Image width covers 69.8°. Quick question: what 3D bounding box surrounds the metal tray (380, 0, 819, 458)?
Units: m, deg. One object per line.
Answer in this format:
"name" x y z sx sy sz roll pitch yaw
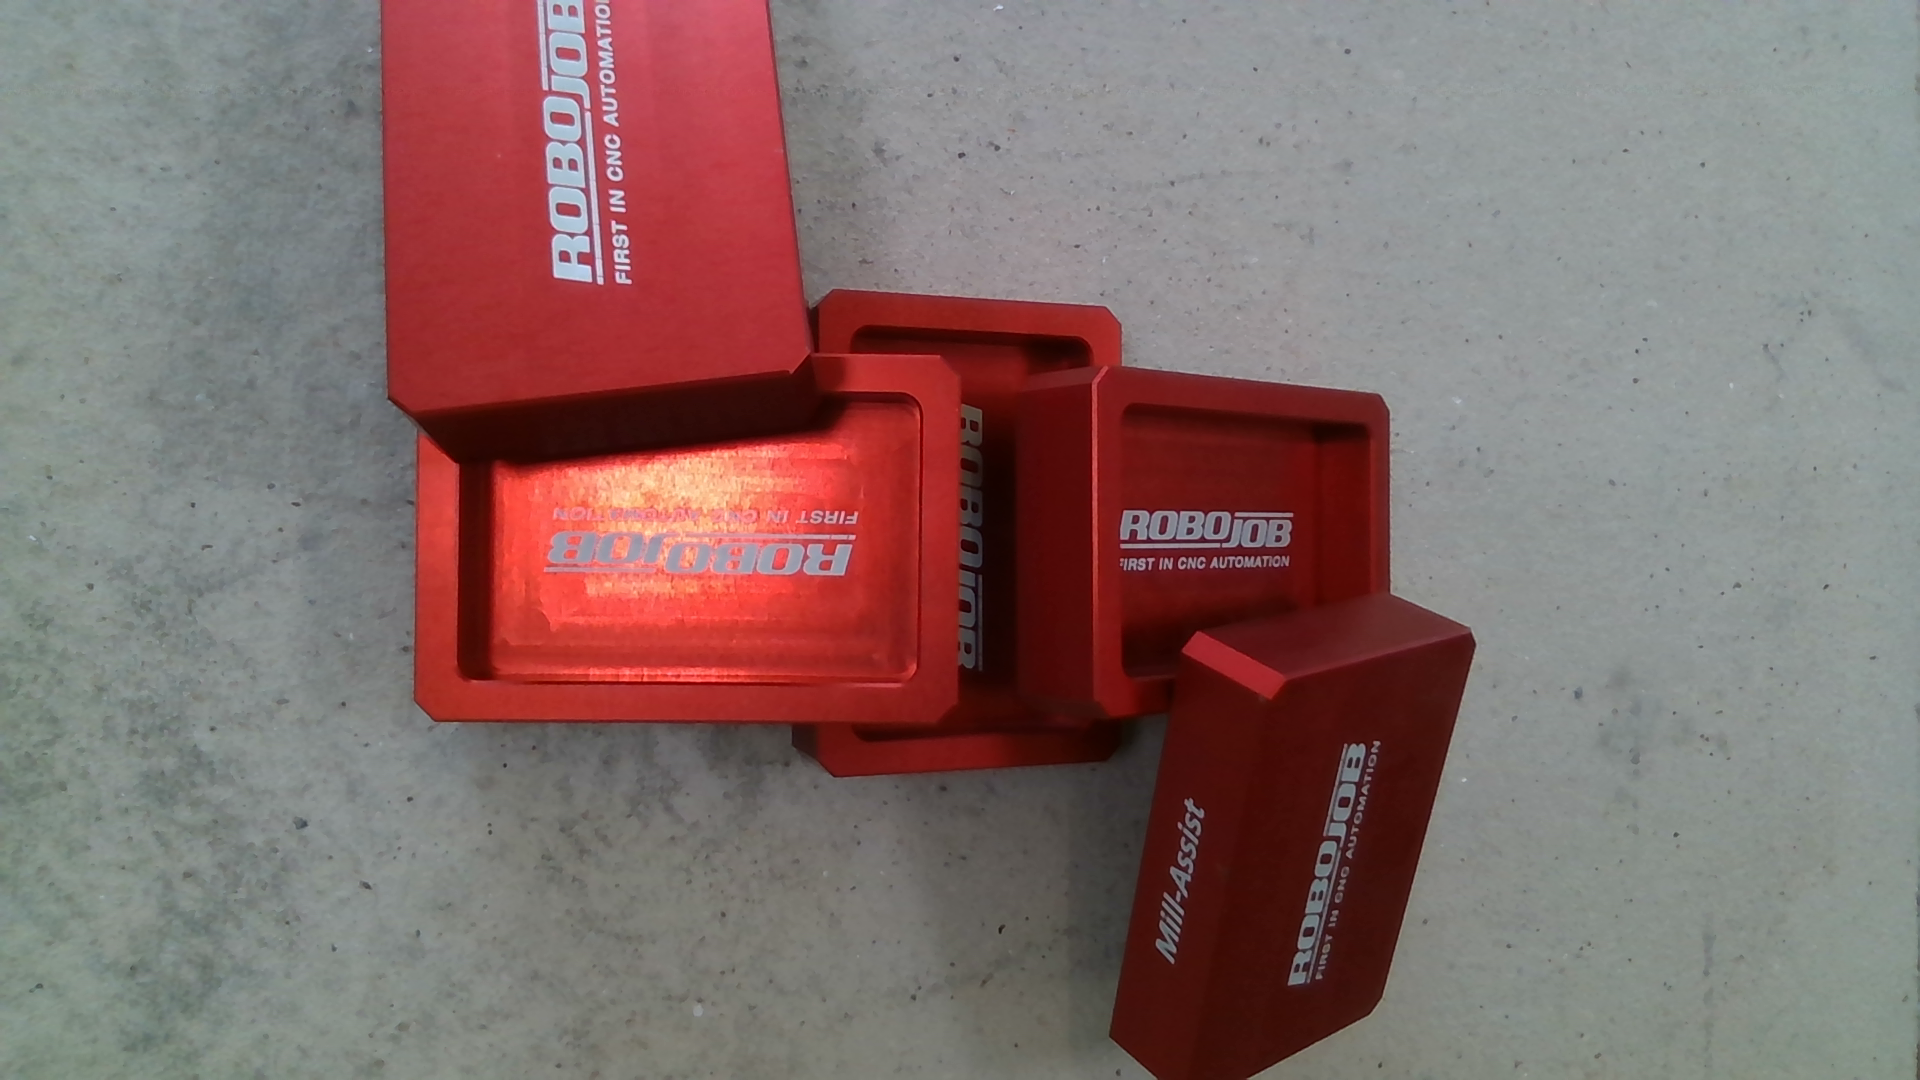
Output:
"metal tray" -0.086 -0.090 0.328 0.090 0.030 0.130 -7 74 -4

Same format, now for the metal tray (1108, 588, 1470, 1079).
"metal tray" 0.094 0.084 0.392 0.090 0.030 0.130 -8 115 -38

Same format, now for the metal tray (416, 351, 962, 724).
"metal tray" -0.065 -0.001 0.346 0.130 0.030 0.090 1 90 -1

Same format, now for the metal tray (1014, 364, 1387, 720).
"metal tray" 0.073 0.000 0.397 0.130 0.030 0.090 -1 91 -40

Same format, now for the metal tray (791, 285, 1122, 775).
"metal tray" -0.001 -0.003 0.391 0.090 0.030 0.130 0 90 -20
